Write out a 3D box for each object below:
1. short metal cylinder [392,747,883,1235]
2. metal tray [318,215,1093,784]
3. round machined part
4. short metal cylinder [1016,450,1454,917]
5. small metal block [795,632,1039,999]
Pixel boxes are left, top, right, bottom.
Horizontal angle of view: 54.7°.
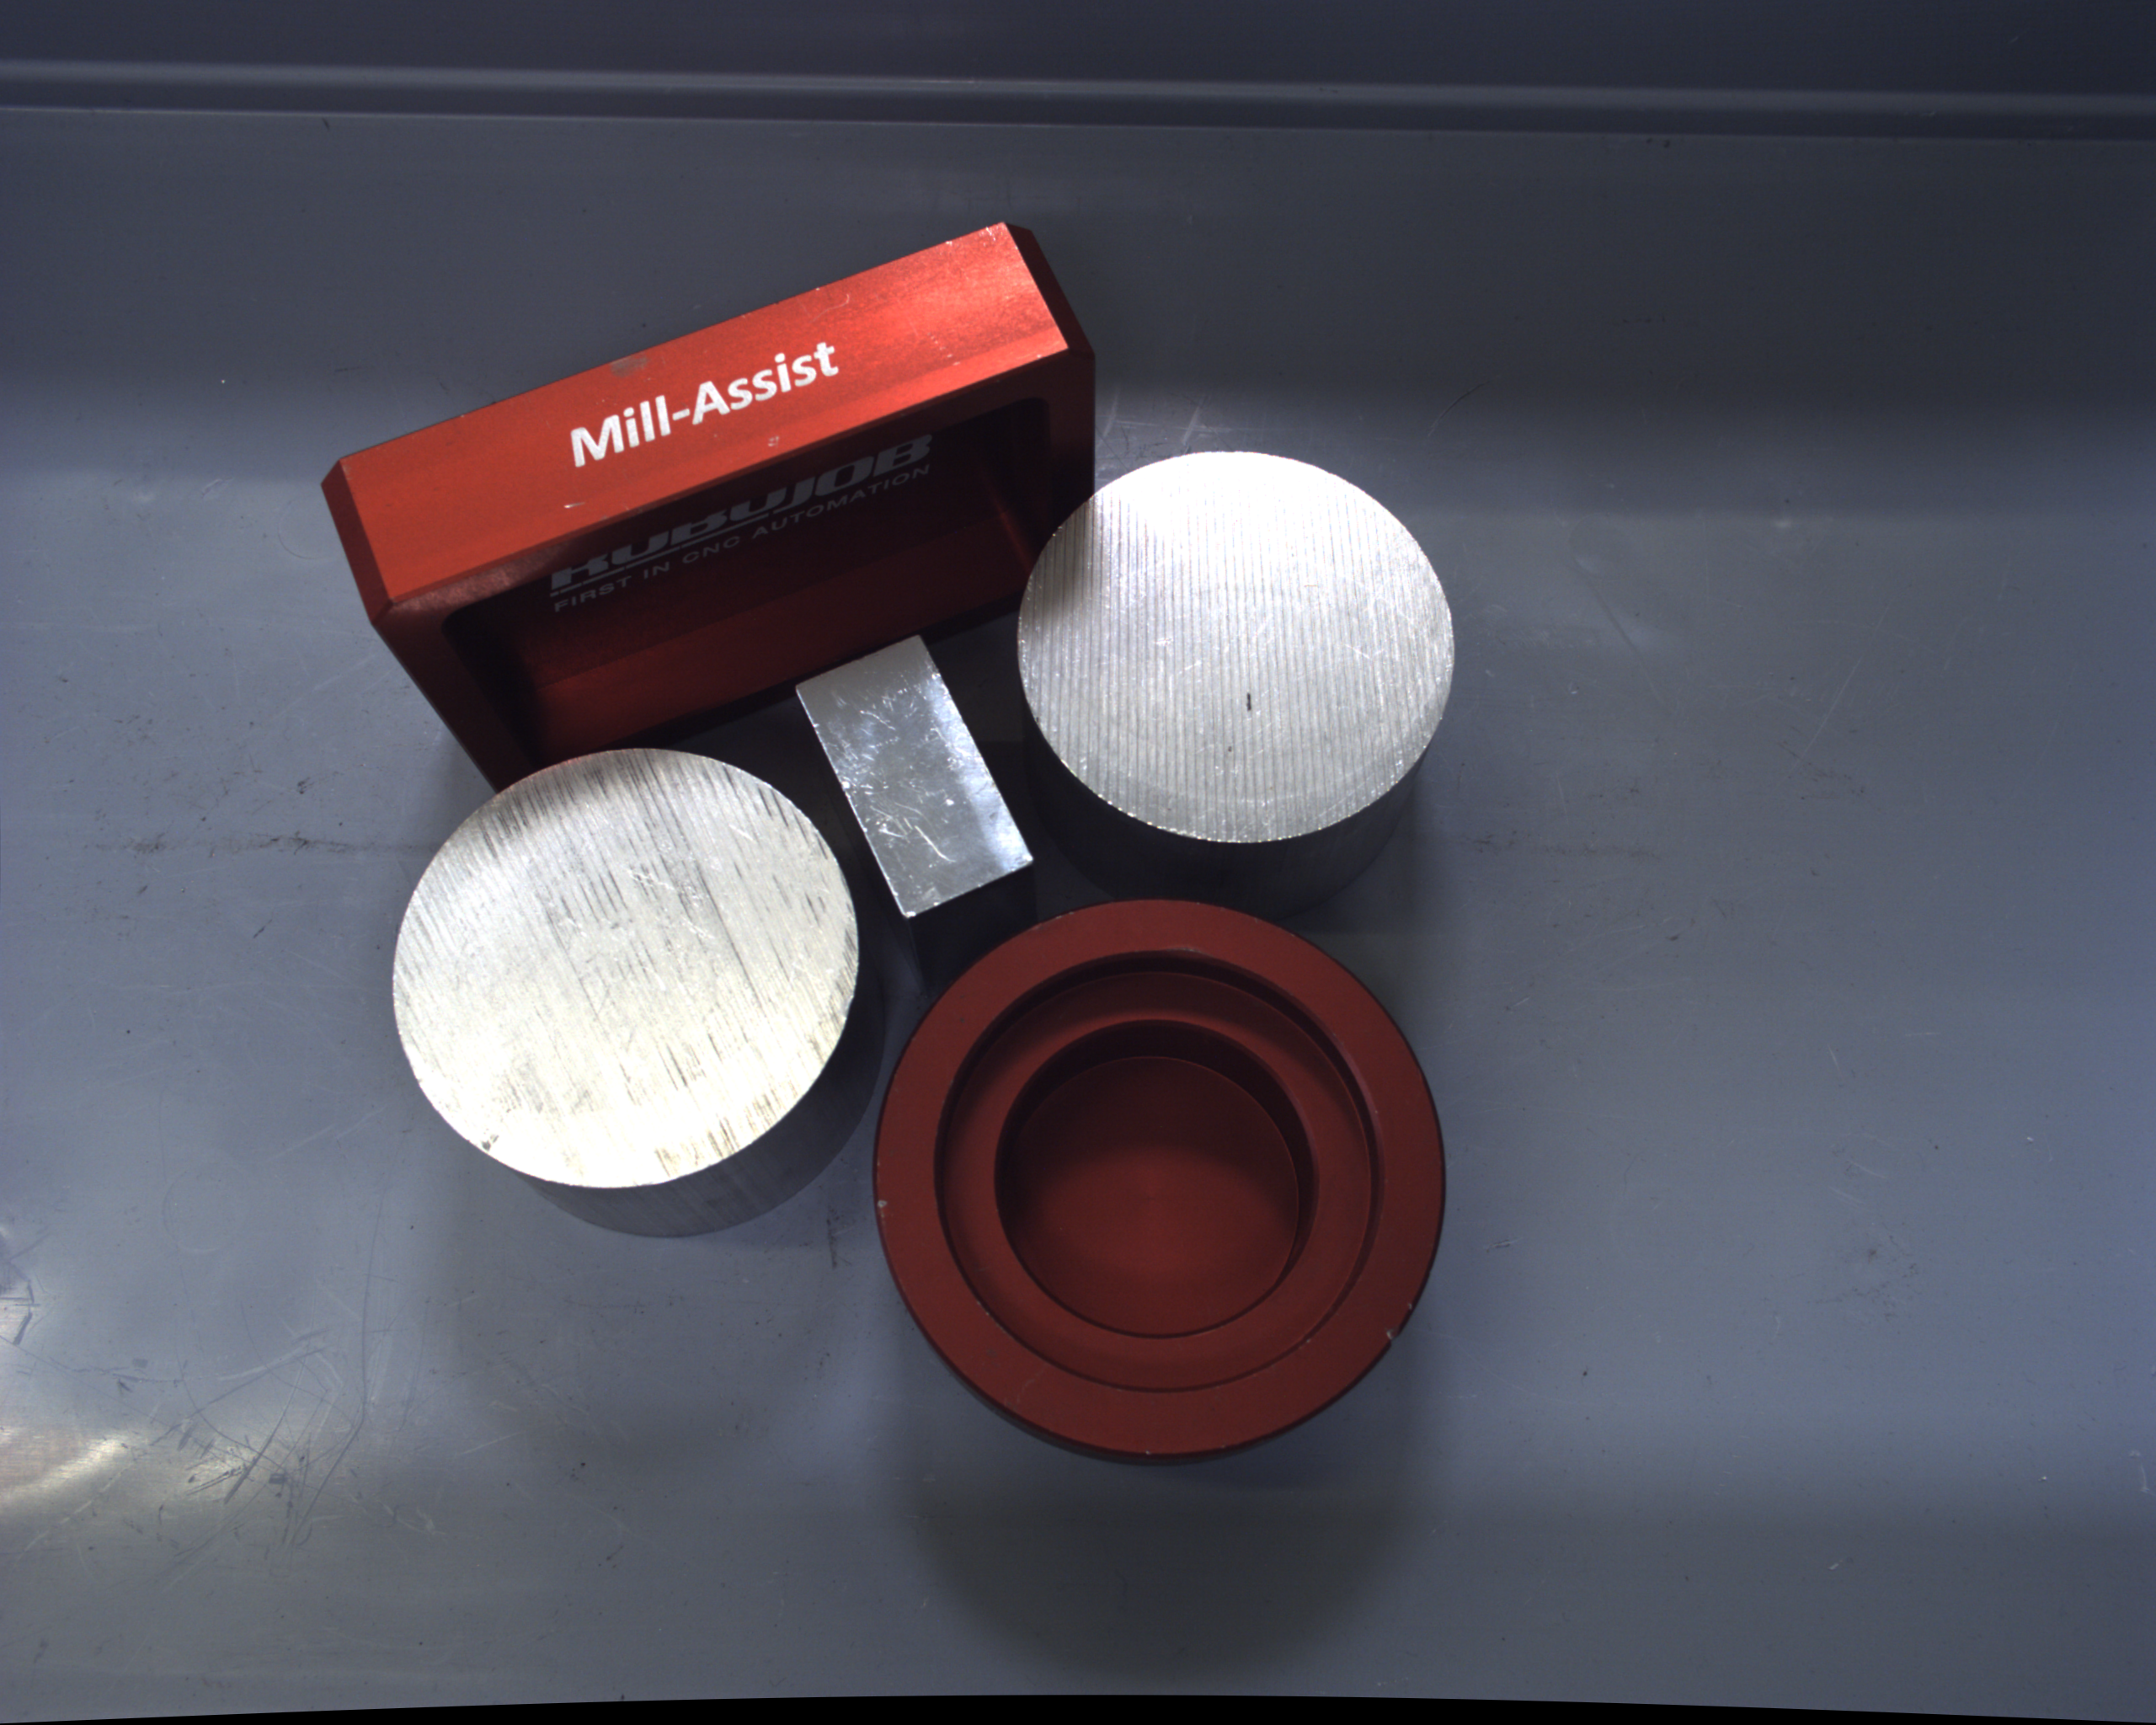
[{"bbox_3d":[-0.078,0.025,0.385,0.081,0.050,0.080,0,70,0],"label":"short metal cylinder"},{"bbox_3d":[-0.063,-0.064,0.395,0.131,0.090,0.030,-22,72,-8],"label":"metal tray"},{"bbox_3d":[0.014,0.058,0.377,0.099,0.042,0.098,0,70,0],"label":"round machined part"},{"bbox_3d":[0.029,-0.033,0.407,0.081,0.050,0.080,0,70,0],"label":"short metal cylinder"},{"bbox_3d":[-0.029,-0.008,0.396,0.025,0.050,0.050,-24,72,-8],"label":"small metal block"}]
